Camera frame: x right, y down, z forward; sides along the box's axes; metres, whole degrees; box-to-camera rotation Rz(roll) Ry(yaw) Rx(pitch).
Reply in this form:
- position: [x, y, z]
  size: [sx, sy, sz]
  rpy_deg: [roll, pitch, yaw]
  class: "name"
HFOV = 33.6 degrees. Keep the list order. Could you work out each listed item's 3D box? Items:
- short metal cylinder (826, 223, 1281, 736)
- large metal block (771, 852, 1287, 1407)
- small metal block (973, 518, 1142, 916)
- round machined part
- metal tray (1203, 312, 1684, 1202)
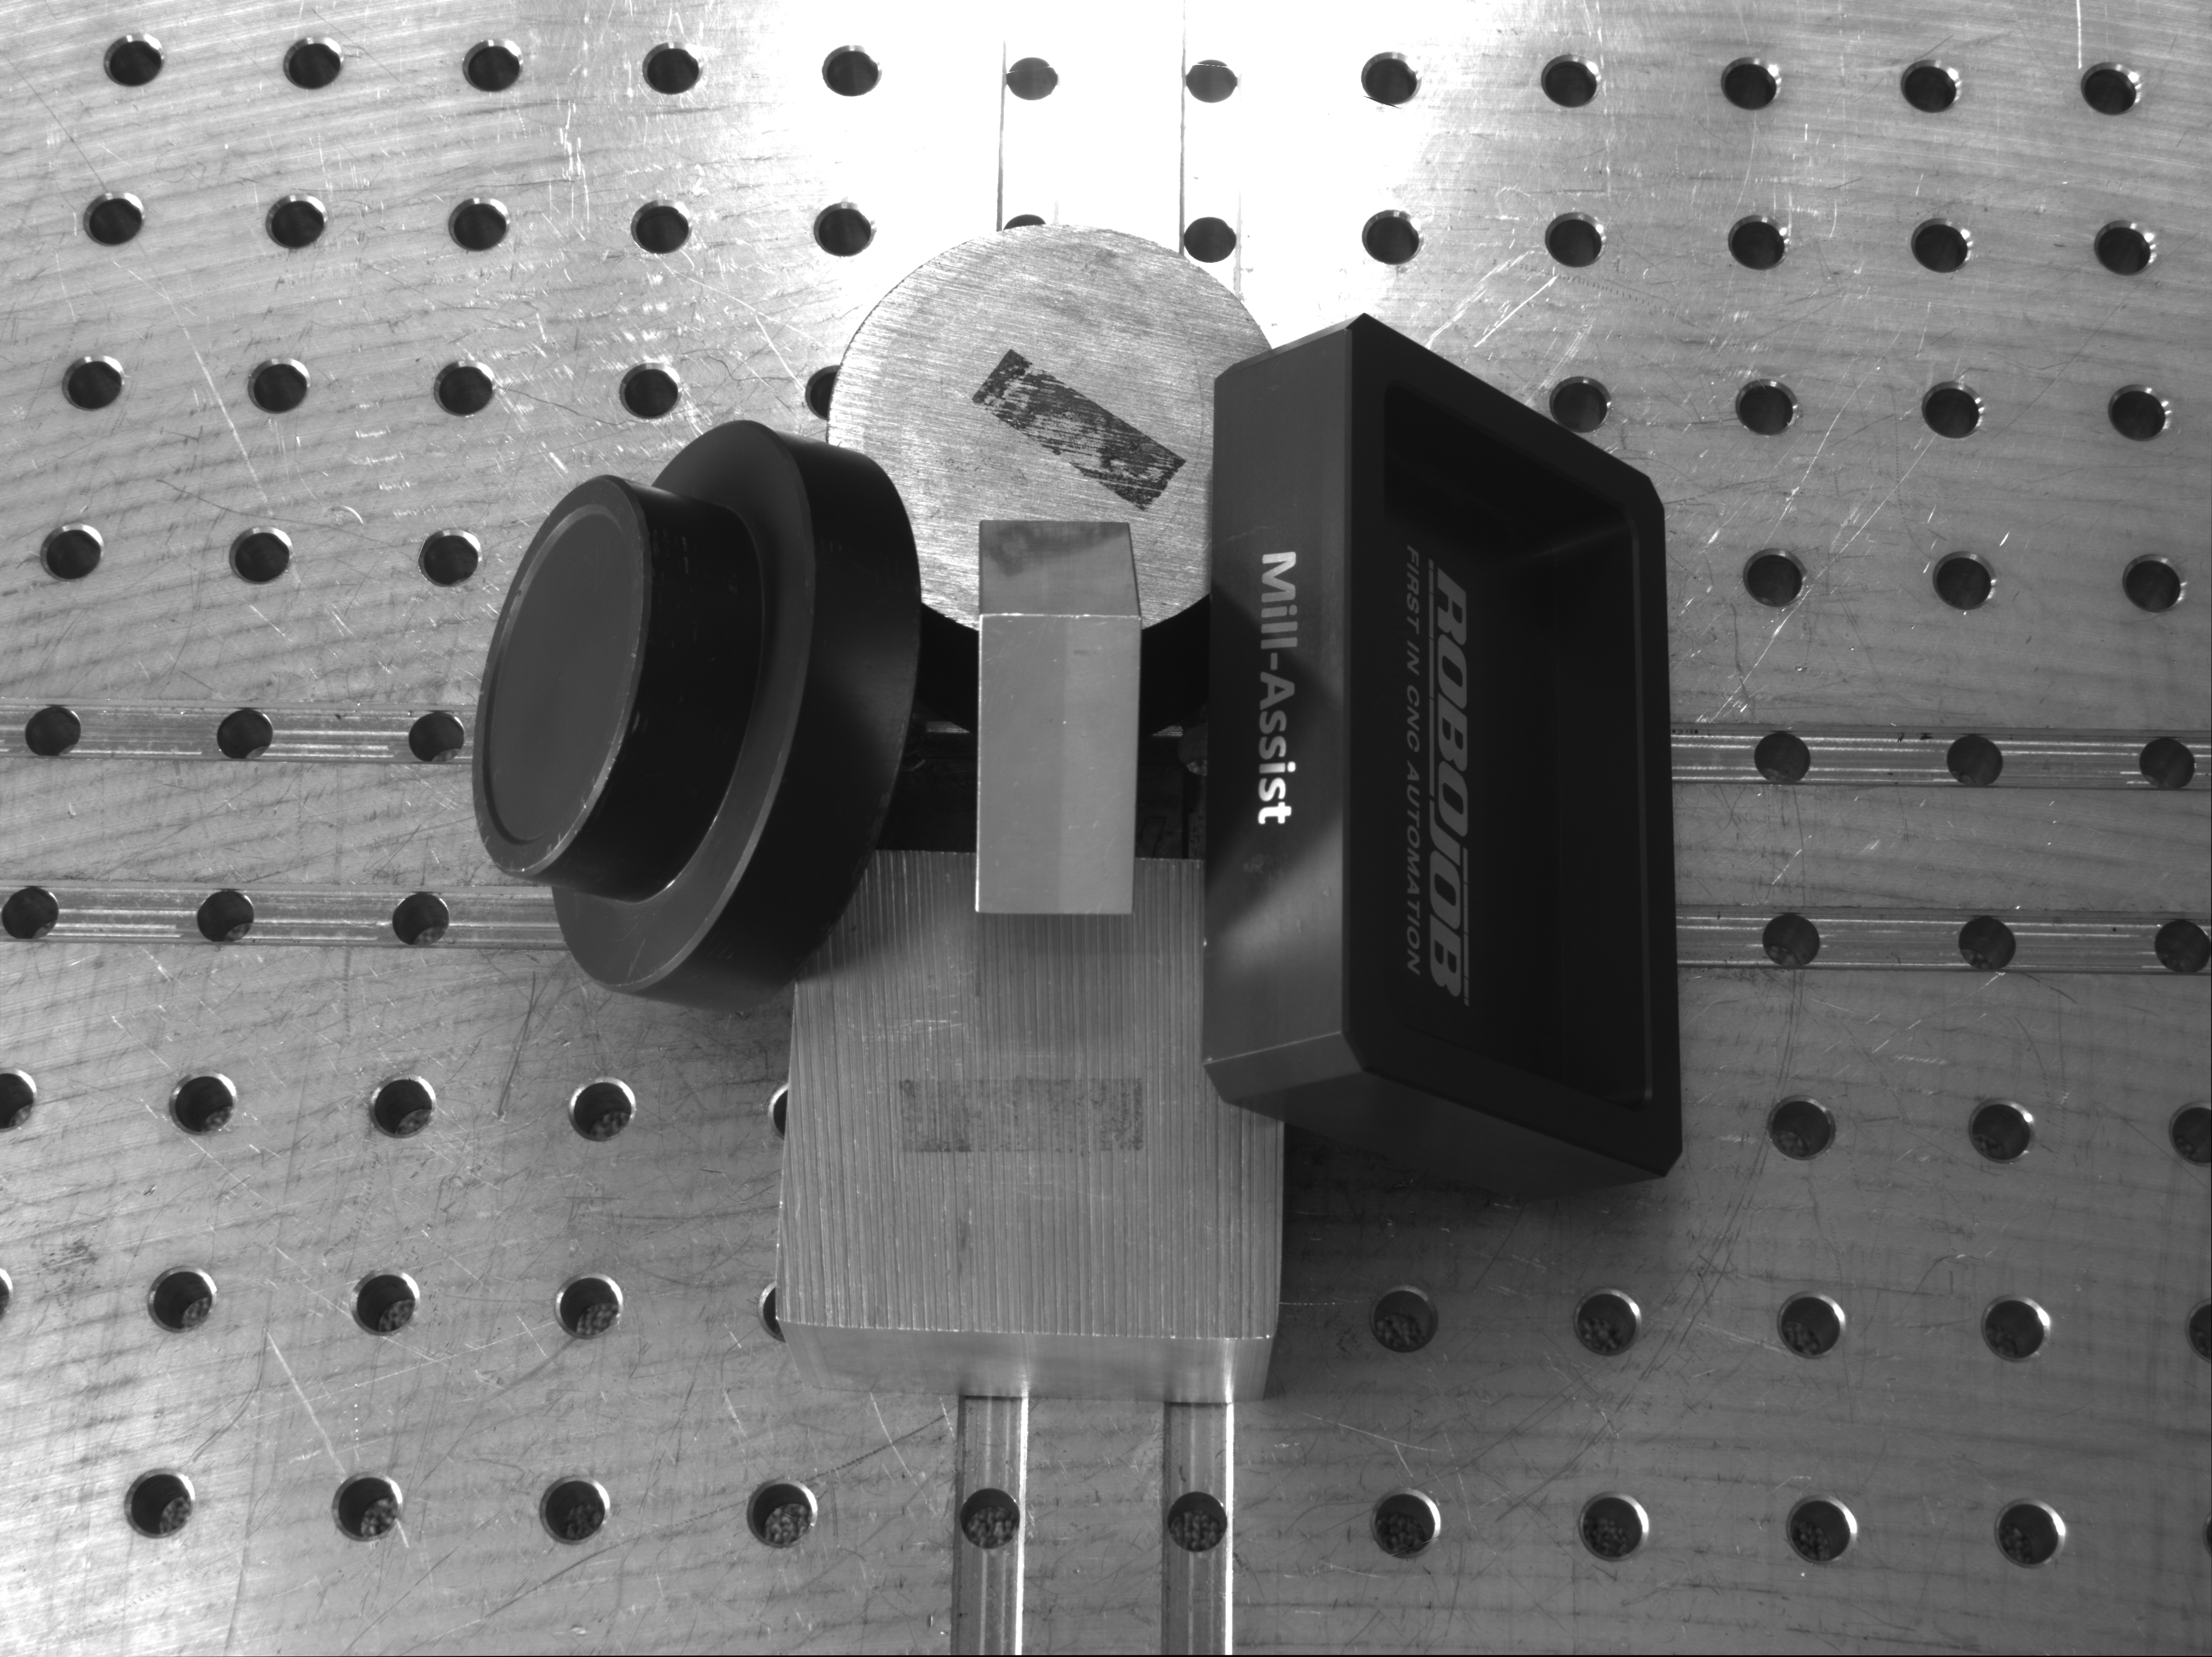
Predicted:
- position: [-0.008, -0.060, 0.655]
  size: [0.080, 0.050, 0.080]
  rpy_deg: [0, 70, 0]
  class: "short metal cylinder"
- position: [-0.011, 0.051, 0.615]
  size: [0.080, 0.050, 0.080]
  rpy_deg: [2, 70, 1]
  class: "large metal block"
- position: [-0.009, -0.019, 0.596]
  size: [0.025, 0.050, 0.050]
  rpy_deg: [1, 112, -3]
  class: "small metal block"
- position: [-0.073, -0.021, 0.612]
  size: [0.042, 0.098, 0.098]
  rpy_deg: [14, 66, -30]
  class: "round machined part"
- position: [0.058, -0.010, 0.618]
  size: [0.030, 0.090, 0.130]
  rpy_deg: [-17, 63, 40]
  class: "metal tray"
